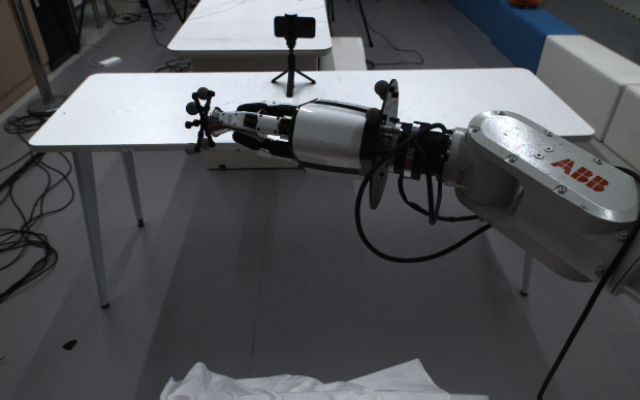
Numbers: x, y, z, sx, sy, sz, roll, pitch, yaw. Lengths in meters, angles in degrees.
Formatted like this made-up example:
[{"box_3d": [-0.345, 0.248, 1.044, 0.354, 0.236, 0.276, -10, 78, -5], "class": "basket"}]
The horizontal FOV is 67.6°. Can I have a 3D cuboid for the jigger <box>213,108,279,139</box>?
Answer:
[{"box_3d": [-0.101, -0.103, 0.639, 0.071, 0.043, 0.043, 6, 35, 14], "class": "jigger"}]
